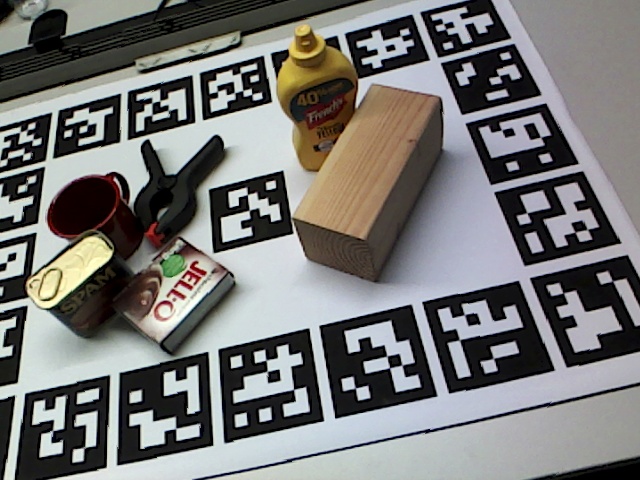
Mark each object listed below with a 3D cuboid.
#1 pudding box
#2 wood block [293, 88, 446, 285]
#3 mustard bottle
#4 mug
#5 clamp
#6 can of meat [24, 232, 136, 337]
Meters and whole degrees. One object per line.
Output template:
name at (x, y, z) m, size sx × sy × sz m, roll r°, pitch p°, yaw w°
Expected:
pudding box at (-0.164, 0.062, 0.712) m, size 0.090 × 0.038 × 0.113 m, roll 32°, pitch 68°, yaw 28°
wood block at (0.063, -0.065, 0.712) m, size 0.090 × 0.090 × 0.206 m, roll 18°, pitch 62°, yaw 25°
mustard bottle at (-0.004, -0.169, 0.727) m, size 0.096 × 0.190 × 0.059 m, roll -19°, pitch 57°, yaw 2°
mug at (-0.269, -0.022, 0.792) m, size 0.093 × 0.081 × 0.117 m, roll 5°, pitch 61°, yaw 16°
clamp at (-0.195, -0.072, 0.811) m, size 0.122 × 0.036 × 0.165 m, roll 3°, pitch 61°, yaw 13°
can of meat at (-0.268, 0.054, 0.709) m, size 0.102 × 0.083 × 0.058 m, roll -40°, pitch 59°, yaw -13°
